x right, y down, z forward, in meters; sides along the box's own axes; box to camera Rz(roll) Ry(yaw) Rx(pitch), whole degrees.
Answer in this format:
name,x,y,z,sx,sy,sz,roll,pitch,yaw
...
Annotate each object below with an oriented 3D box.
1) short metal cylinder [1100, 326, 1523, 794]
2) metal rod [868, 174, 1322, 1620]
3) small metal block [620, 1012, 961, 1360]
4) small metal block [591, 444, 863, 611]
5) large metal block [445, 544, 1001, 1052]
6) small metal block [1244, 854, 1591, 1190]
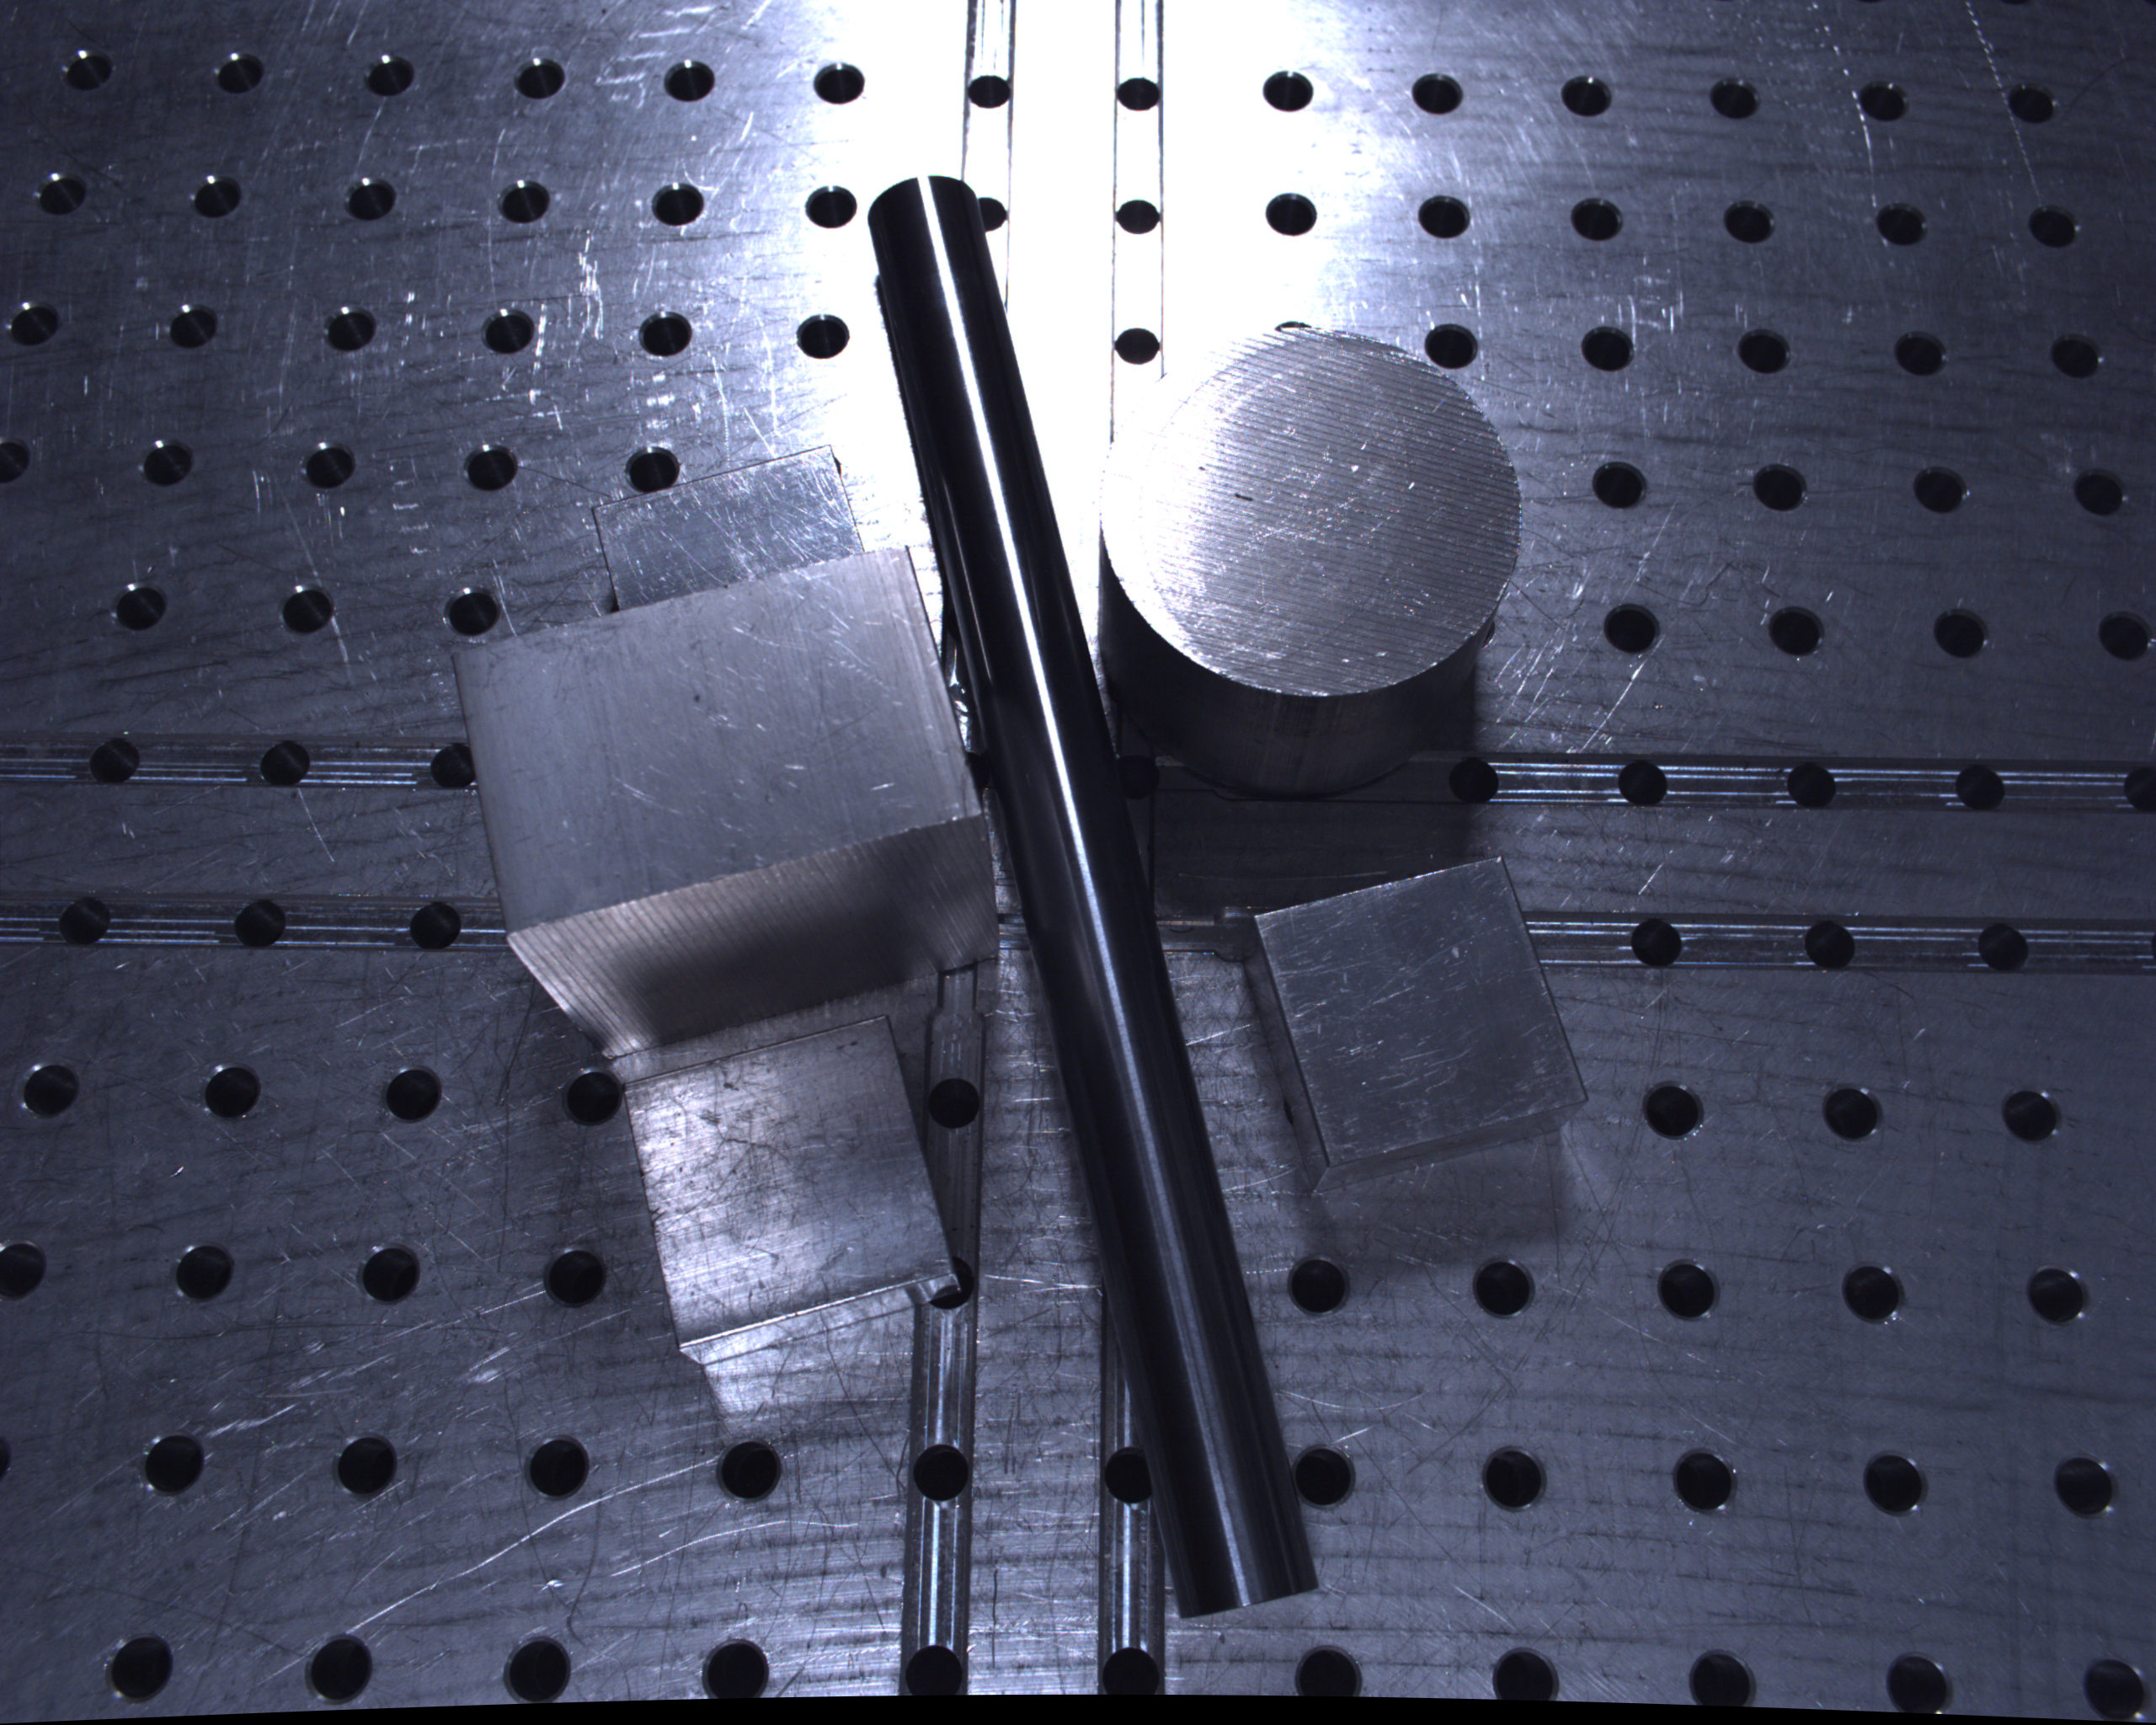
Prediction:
name,x,y,z,sx,sy,sz,roll,pitch,yaw
short metal cylinder,0.044,-0.060,0.420,0.081,0.050,0.080,0,70,0
metal rod,-0.002,-0.008,0.414,0.025,0.025,0.299,-12,70,-5
small metal block,-0.053,0.061,0.389,0.050,0.025,0.050,-15,71,-6
small metal block,-0.068,-0.053,0.430,0.050,0.025,0.050,-16,71,-6
large metal block,-0.061,-0.009,0.383,0.081,0.080,0.050,-15,71,-6
small metal block,0.064,0.031,0.401,0.050,0.025,0.050,-14,71,-6
